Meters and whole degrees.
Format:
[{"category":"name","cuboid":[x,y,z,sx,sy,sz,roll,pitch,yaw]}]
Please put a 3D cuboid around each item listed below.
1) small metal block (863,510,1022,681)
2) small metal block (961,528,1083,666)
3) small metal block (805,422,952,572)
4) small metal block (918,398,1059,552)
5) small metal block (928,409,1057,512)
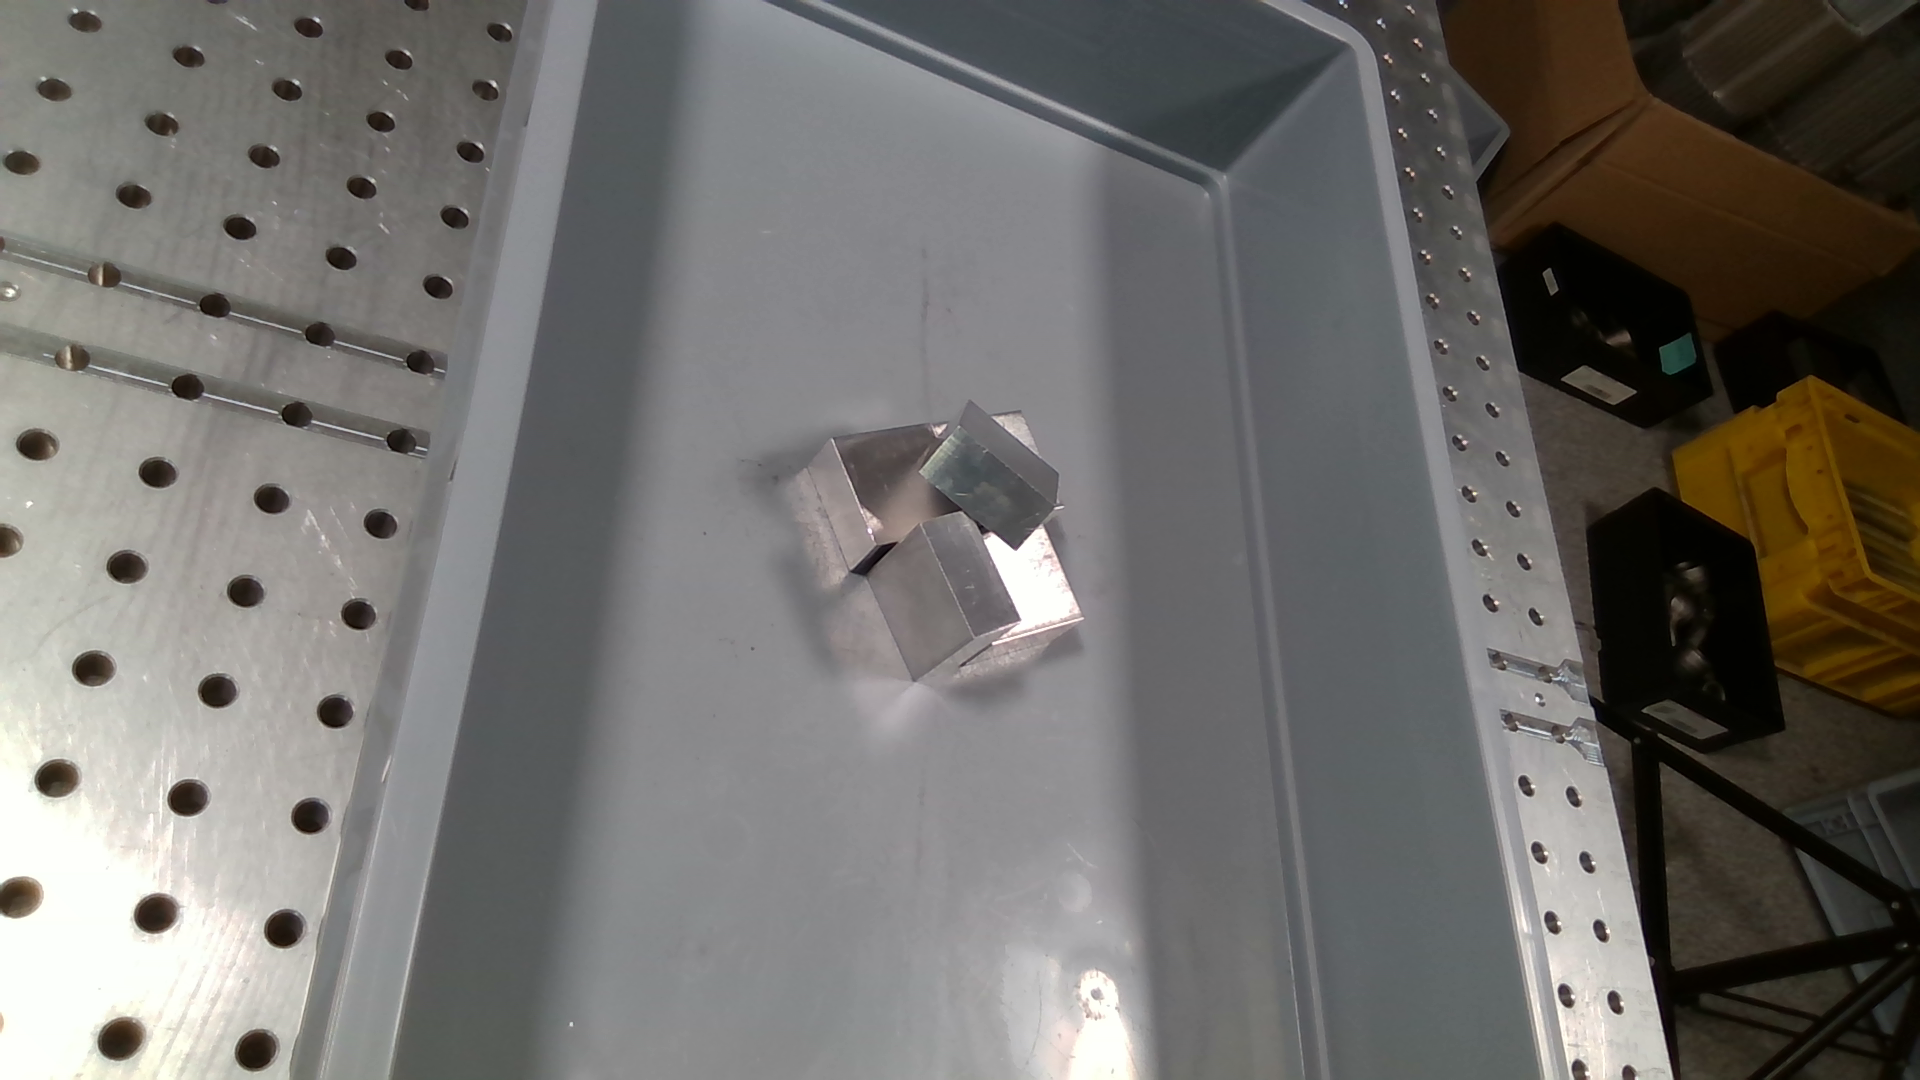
[{"category":"small metal block","cuboid":[-0.008,0.022,0.551,0.025,0.050,0.050,-16,75,-37]},{"category":"small metal block","cuboid":[0.017,0.021,0.584,0.050,0.025,0.050,-12,72,-36]},{"category":"small metal block","cuboid":[-0.030,-0.019,0.576,0.050,0.025,0.050,-12,72,-36]},{"category":"small metal block","cuboid":[0.013,-0.028,0.559,0.050,0.025,0.050,40,17,-7]},{"category":"small metal block","cuboid":[0.010,-0.027,0.606,0.050,0.025,0.050,-12,72,-36]}]
